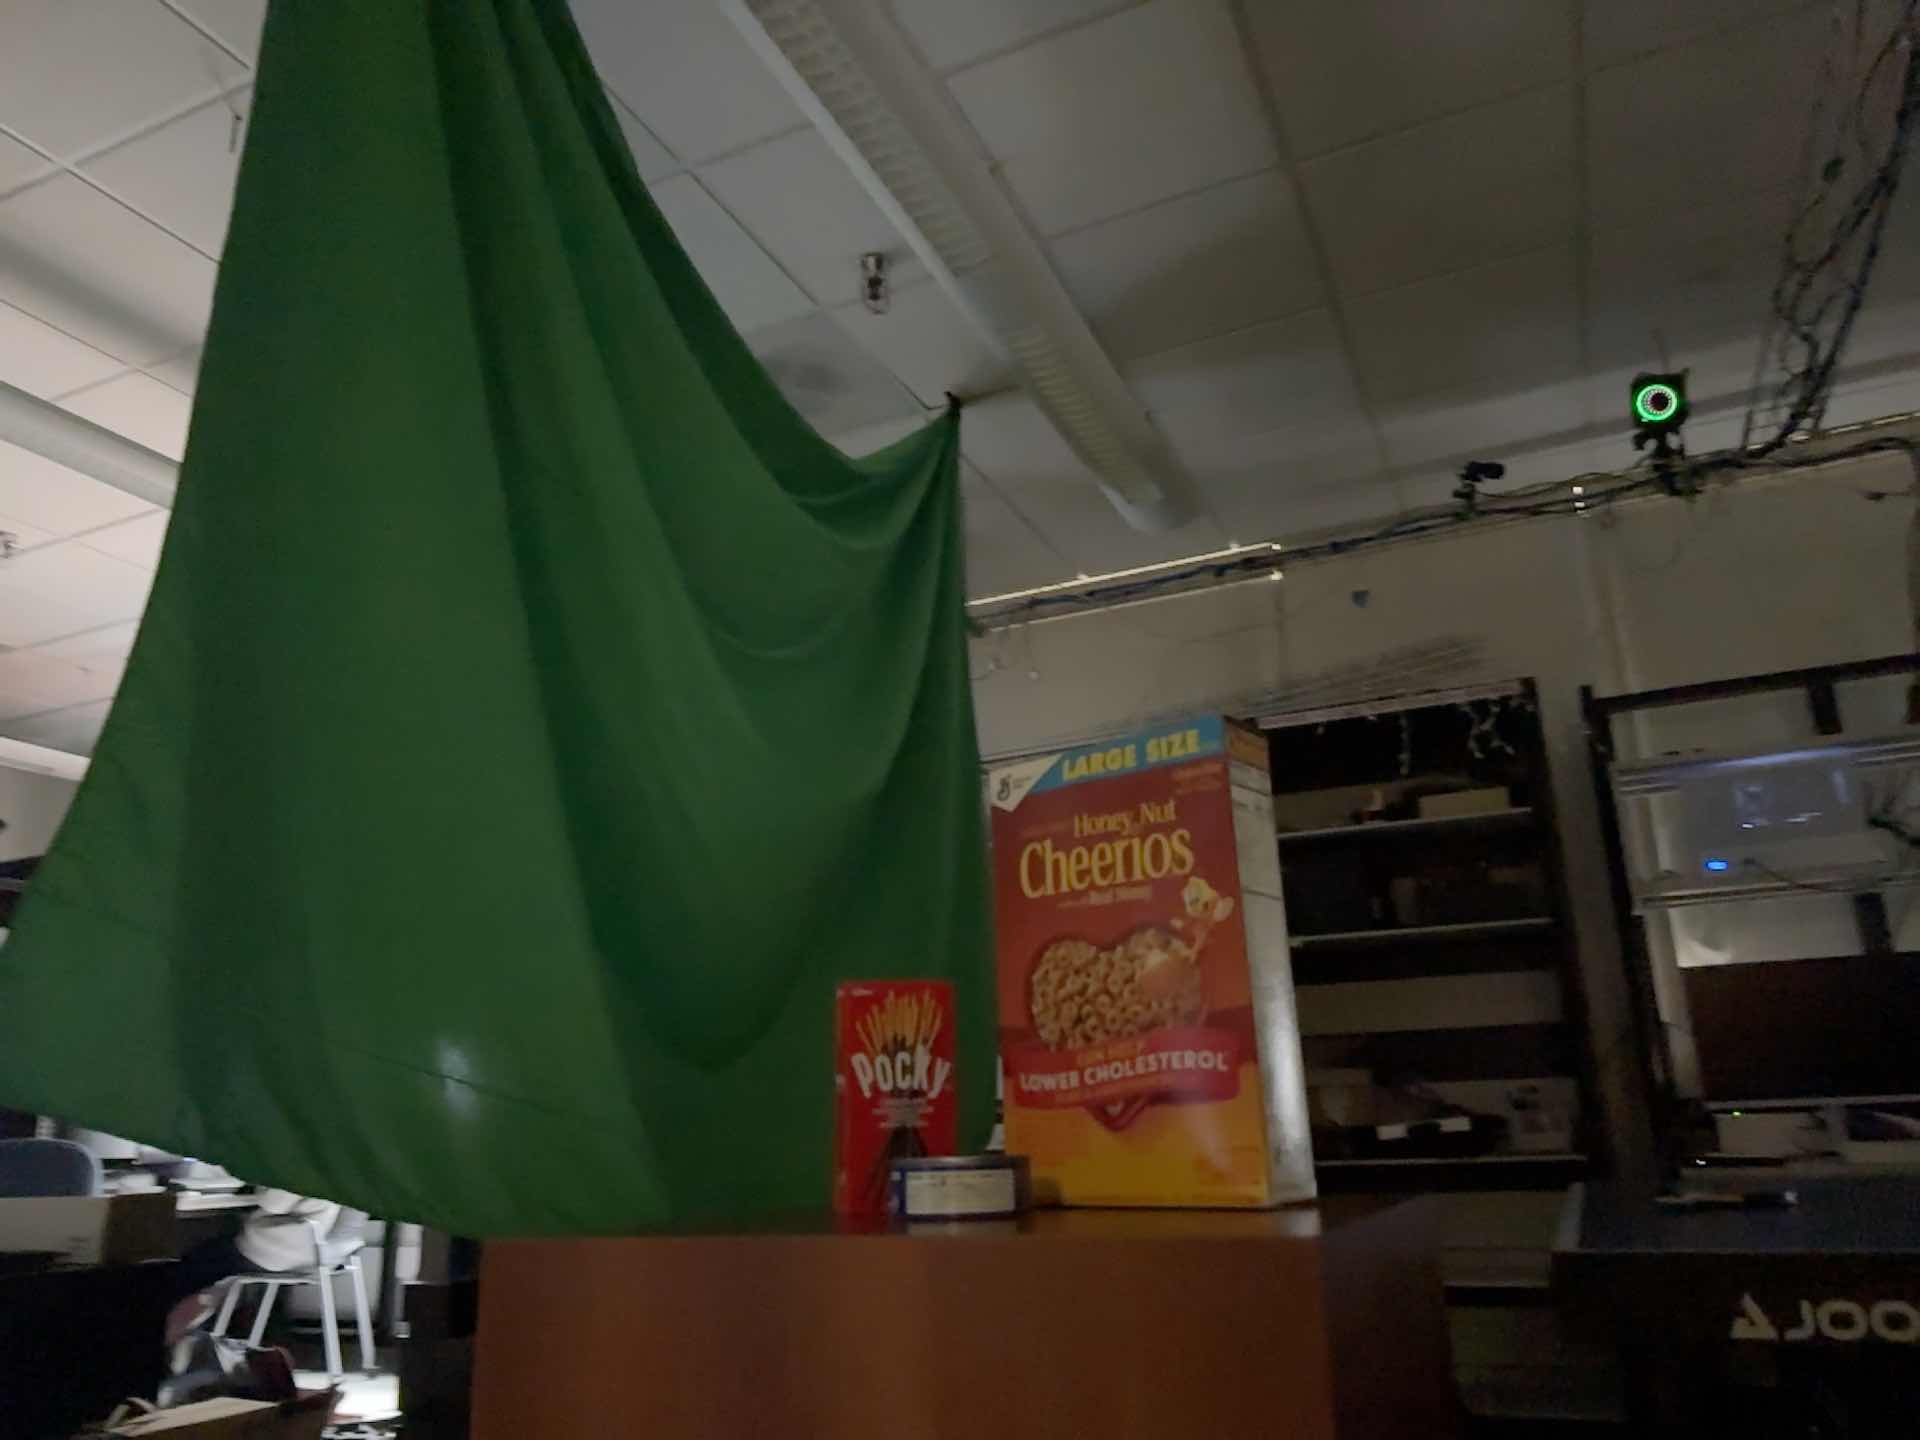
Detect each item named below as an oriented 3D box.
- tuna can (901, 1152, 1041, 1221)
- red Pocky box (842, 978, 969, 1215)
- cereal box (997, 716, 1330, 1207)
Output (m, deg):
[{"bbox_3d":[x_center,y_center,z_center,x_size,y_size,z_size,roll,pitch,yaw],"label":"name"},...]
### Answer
[{"bbox_3d":[0.007,0.280,0.809,0.083,0.034,0.083,-2,-16,-1],"label":"tuna can"},{"bbox_3d":[-0.038,0.255,0.918,0.083,0.155,0.028,4,-16,-22],"label":"red Pocky box"},{"bbox_3d":[0.128,0.167,0.912,0.195,0.297,0.065,-14,-20,36],"label":"cereal box"}]
